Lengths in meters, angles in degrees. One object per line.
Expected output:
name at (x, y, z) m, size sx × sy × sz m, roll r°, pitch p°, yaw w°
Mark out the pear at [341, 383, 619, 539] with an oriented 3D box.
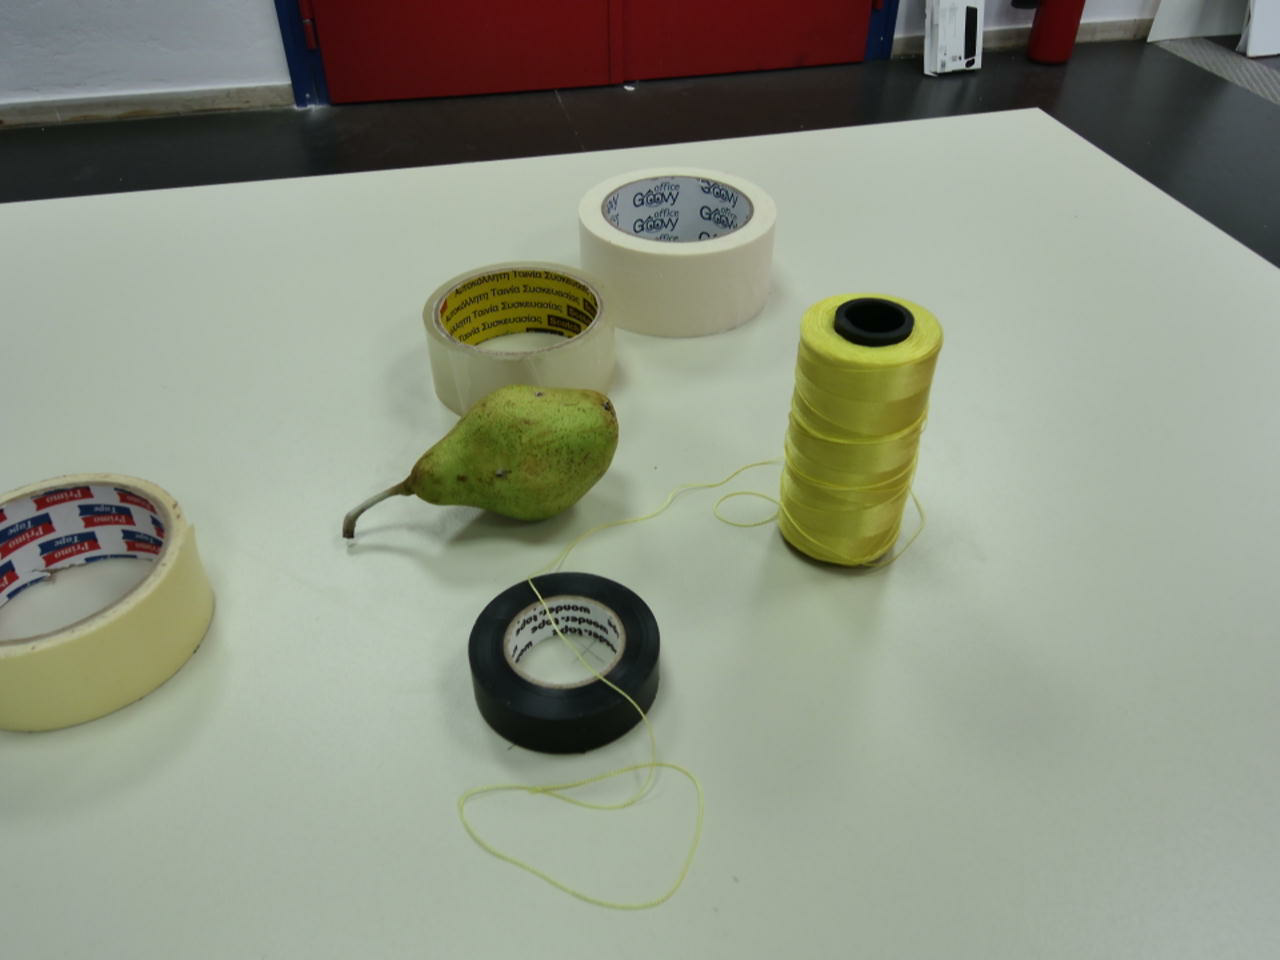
pear at (-0.064, -0.012, 0.405) m, size 0.111 × 0.056 × 0.056 m, roll 1°, pitch 38°, yaw 1°
